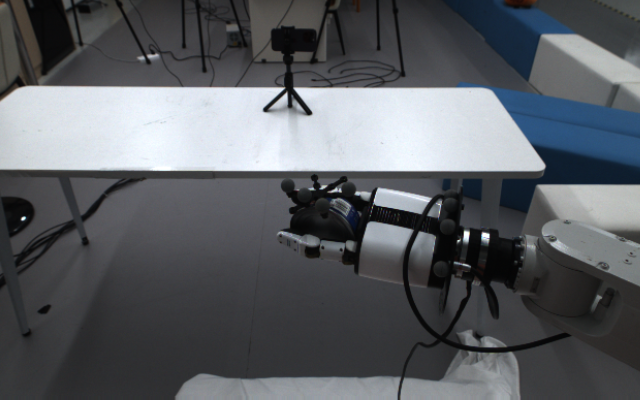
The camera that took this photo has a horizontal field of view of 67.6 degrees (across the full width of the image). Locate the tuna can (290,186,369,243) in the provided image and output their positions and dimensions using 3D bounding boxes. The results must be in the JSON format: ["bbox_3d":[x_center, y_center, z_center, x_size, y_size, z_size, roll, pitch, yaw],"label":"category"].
[{"bbox_3d":[0.010,0.031,0.610,0.085,0.085,0.034,14,41,16],"label":"tuna can"}]
